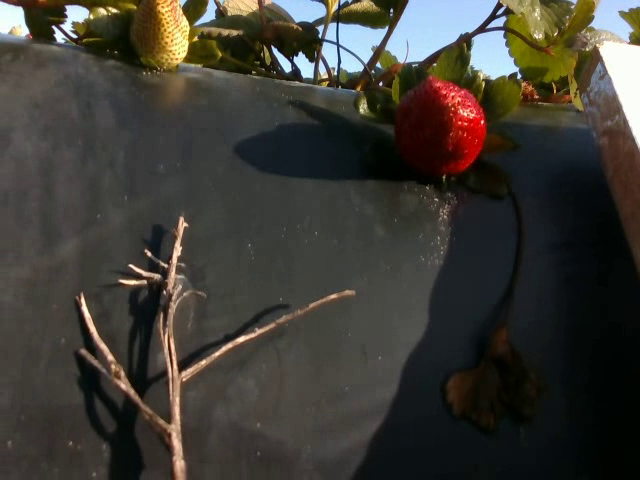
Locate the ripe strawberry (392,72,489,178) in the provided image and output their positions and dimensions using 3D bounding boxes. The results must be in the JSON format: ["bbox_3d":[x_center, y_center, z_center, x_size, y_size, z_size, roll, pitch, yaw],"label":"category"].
[{"bbox_3d":[0.016,-0.015,0.078,0.016,0.015,0.022,14,-3,4],"label":"ripe strawberry"}]
